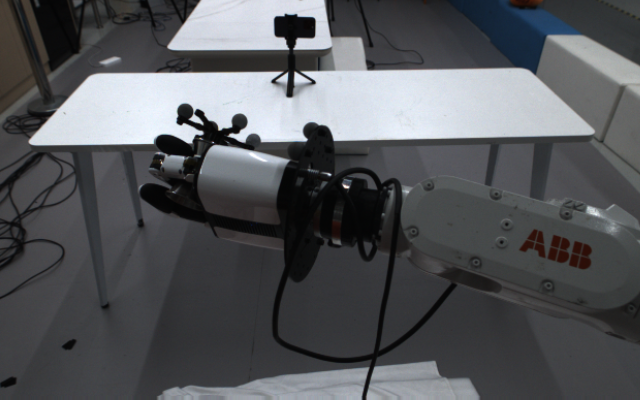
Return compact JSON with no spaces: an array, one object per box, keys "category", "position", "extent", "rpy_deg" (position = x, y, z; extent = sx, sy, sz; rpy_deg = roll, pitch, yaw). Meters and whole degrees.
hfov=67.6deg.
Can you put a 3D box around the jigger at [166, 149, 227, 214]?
[{"category":"jigger","position":[-0.131,-0.028,0.523],"extent":[0.043,0.043,0.071],"rpy_deg":[13,70,15]}]
